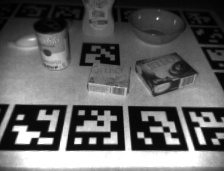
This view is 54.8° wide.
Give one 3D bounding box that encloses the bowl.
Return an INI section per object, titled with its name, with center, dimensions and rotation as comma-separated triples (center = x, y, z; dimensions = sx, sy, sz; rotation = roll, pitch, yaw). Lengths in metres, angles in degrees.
[bowl]
center = 0.128, -0.172, 0.635
dimensions = 0.162, 0.055, 0.161
rotation = 2, 45, -1

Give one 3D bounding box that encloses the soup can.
[soup can]
center = -0.146, -0.106, 0.500
dimensions = 0.068, 0.102, 0.067
rotation = 3, 44, -2

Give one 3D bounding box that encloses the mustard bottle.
[mustard bottle]
center = -0.039, -0.246, 0.579
dimensions = 0.096, 0.192, 0.058
rotation = 1, 43, -2

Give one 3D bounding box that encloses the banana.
[banana]
center = -0.189, -0.158, 0.605
dimensions = 0.073, 0.039, 0.199
rotation = 26, 48, 34

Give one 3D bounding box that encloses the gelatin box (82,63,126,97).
[gelatin box]
center = -0.015, -0.015, 0.482
dimensions = 0.089, 0.030, 0.073
rotation = 6, 49, 3

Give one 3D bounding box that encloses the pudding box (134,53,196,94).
[pudding box]
center = 0.121, -0.035, 0.507
dimensions = 0.115, 0.039, 0.089
rotation = -16, 54, -19
